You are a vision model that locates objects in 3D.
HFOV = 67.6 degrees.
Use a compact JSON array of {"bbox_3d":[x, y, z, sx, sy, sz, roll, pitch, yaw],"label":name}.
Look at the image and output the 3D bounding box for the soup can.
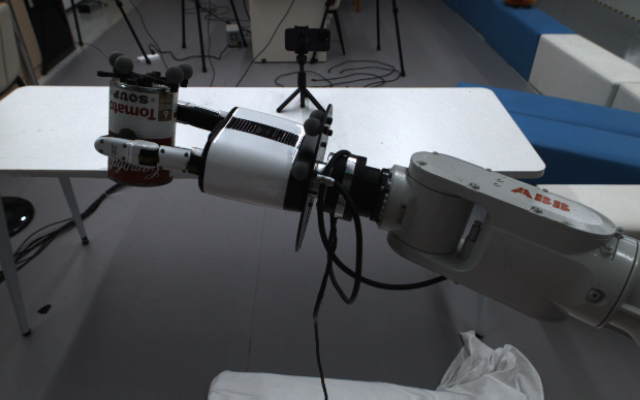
[{"bbox_3d":[-0.185,-0.072,0.511,0.067,0.101,0.067,9,20,-3],"label":"soup can"}]
